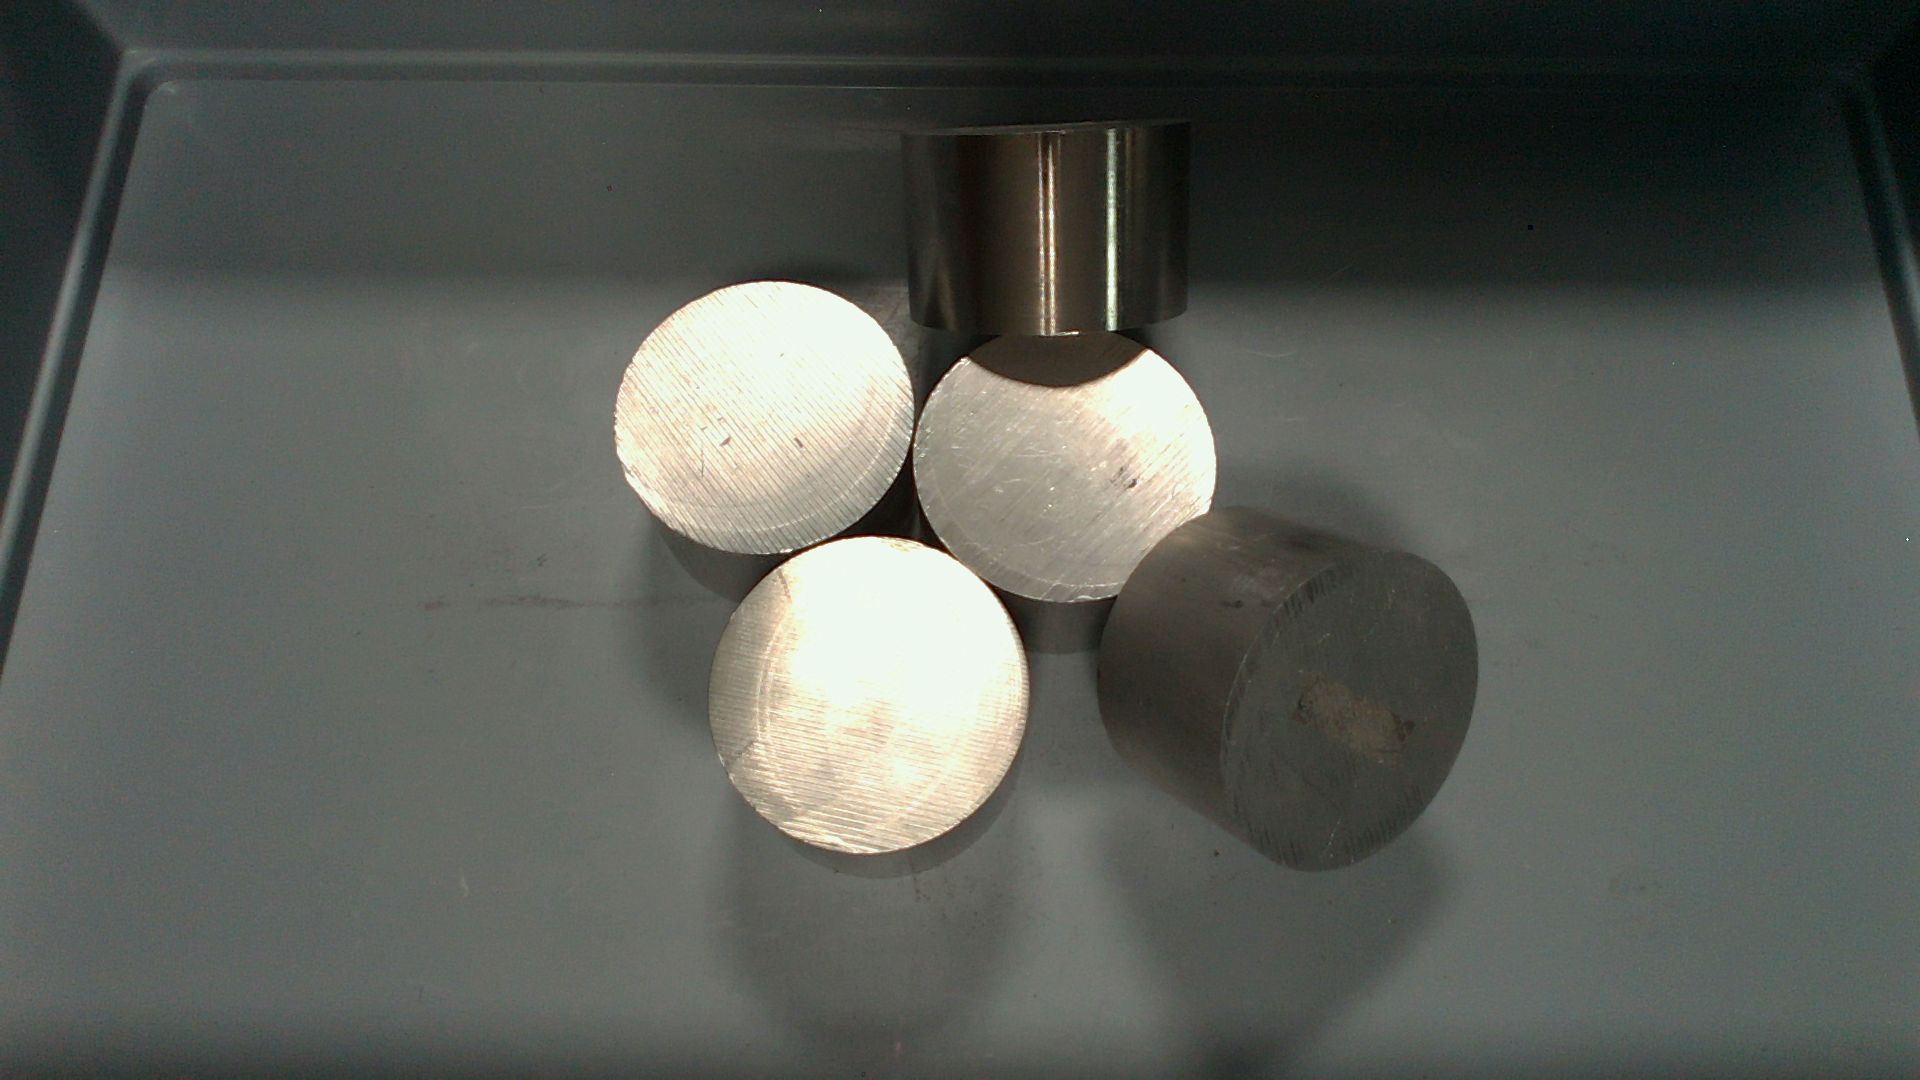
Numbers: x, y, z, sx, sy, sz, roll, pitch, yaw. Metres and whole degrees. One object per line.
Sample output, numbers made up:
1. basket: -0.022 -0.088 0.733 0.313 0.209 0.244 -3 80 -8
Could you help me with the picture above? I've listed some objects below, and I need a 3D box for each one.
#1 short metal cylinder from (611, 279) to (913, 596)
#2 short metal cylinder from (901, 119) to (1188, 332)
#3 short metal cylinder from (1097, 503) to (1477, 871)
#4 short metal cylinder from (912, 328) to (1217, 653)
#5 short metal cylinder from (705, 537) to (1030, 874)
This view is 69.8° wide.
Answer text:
1. short metal cylinder: -0.052 -0.026 0.389 0.080 0.050 0.080 0 70 0
2. short metal cylinder: 0.024 -0.091 0.390 0.080 0.080 0.050 -3 108 -1
3. short metal cylinder: 0.082 0.035 0.346 0.080 0.050 0.080 -8 107 -28
4. short metal cylinder: 0.028 -0.014 0.385 0.080 0.050 0.080 0 70 0
5. short metal cylinder: -0.023 0.045 0.363 0.080 0.050 0.080 0 70 0
